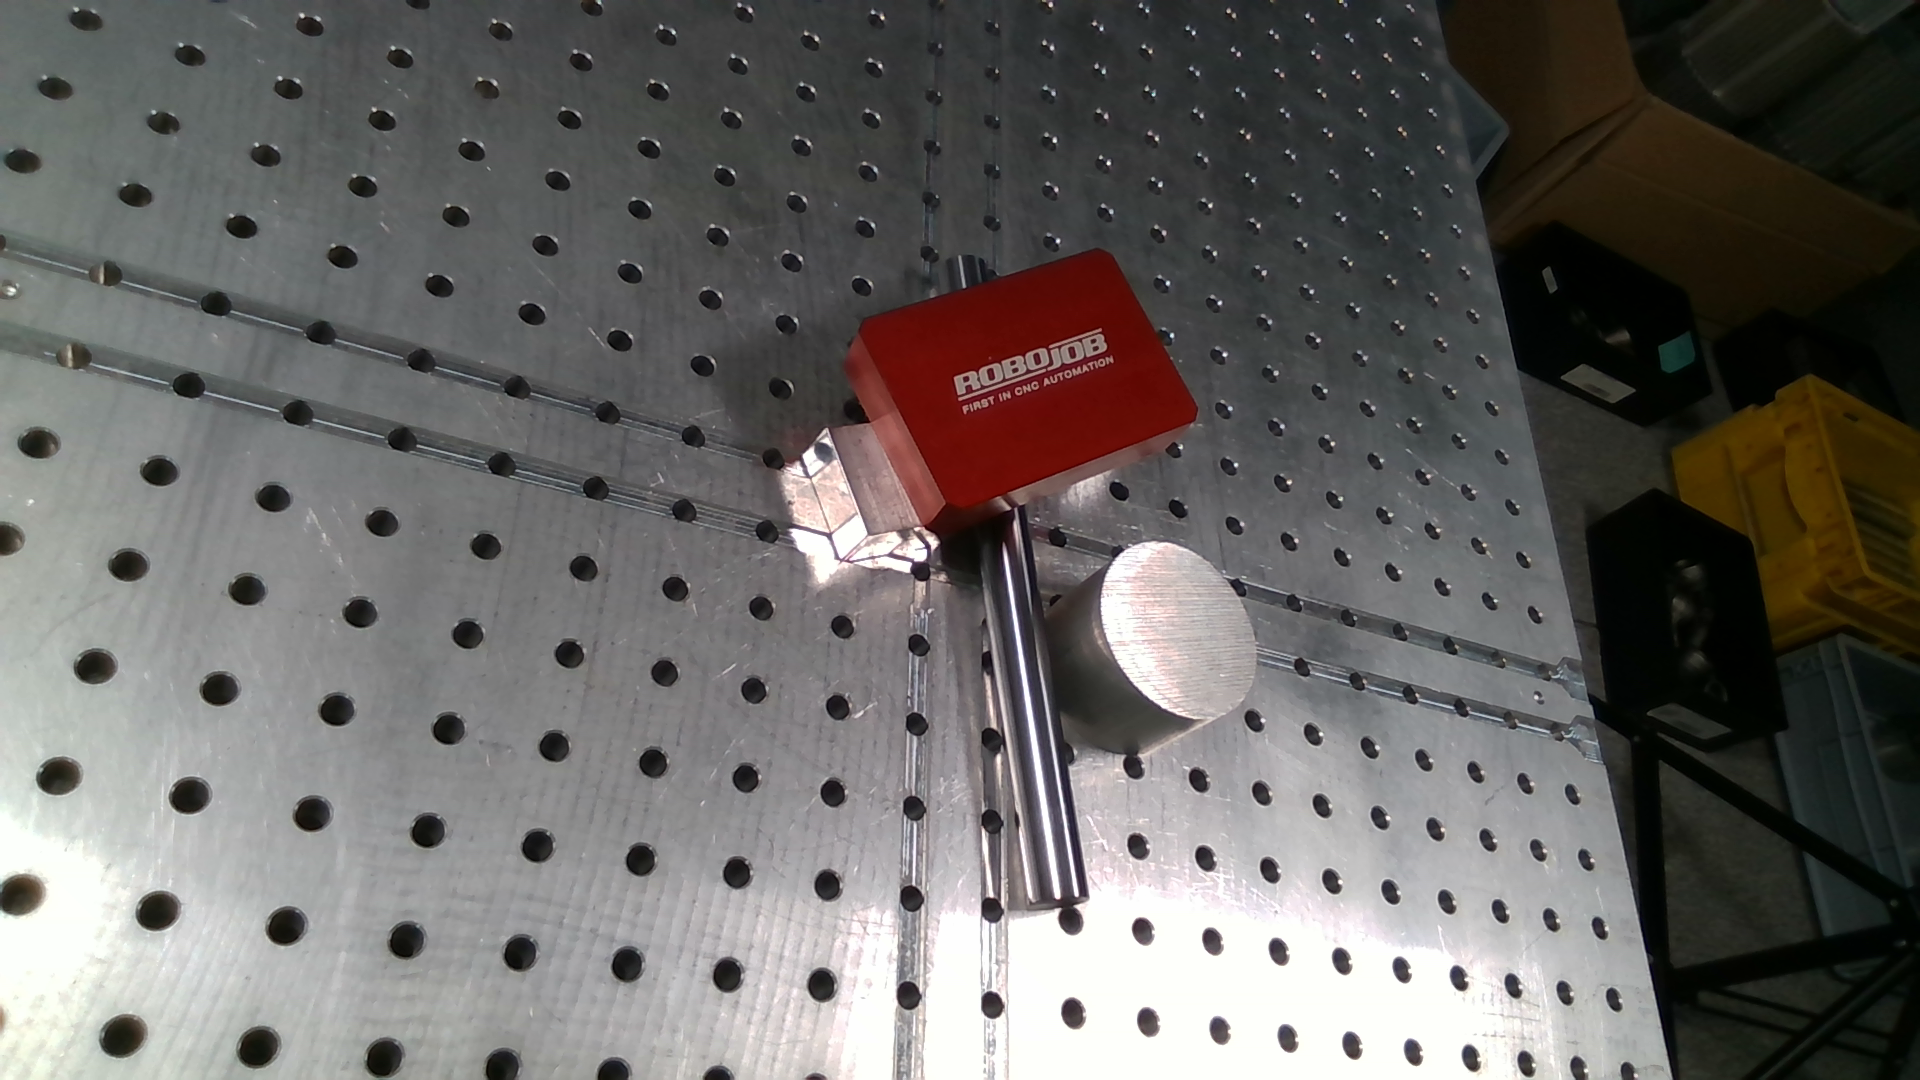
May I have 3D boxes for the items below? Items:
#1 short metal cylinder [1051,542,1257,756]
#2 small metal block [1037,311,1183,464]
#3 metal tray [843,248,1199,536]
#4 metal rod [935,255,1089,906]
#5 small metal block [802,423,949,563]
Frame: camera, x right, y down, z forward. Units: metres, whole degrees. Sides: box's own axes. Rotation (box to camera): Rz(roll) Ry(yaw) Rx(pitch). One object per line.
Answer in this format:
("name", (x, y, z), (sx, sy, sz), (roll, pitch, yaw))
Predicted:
("short metal cylinder", (0.081, 0.048, 0.596), (0.080, 0.050, 0.080), (14, 59, -25))
("small metal block", (0.071, -0.072, 0.655), (0.025, 0.050, 0.050), (-20, 77, -37))
("metal tray", (0.027, -0.066, 0.588), (0.130, 0.030, 0.090), (-22, 77, -26))
("metal rod", (0.019, 0.006, 0.598), (0.025, 0.025, 0.299), (6, 62, -29))
("small metal block", (-0.032, -0.022, 0.580), (0.050, 0.025, 0.050), (-10, 71, -35))
